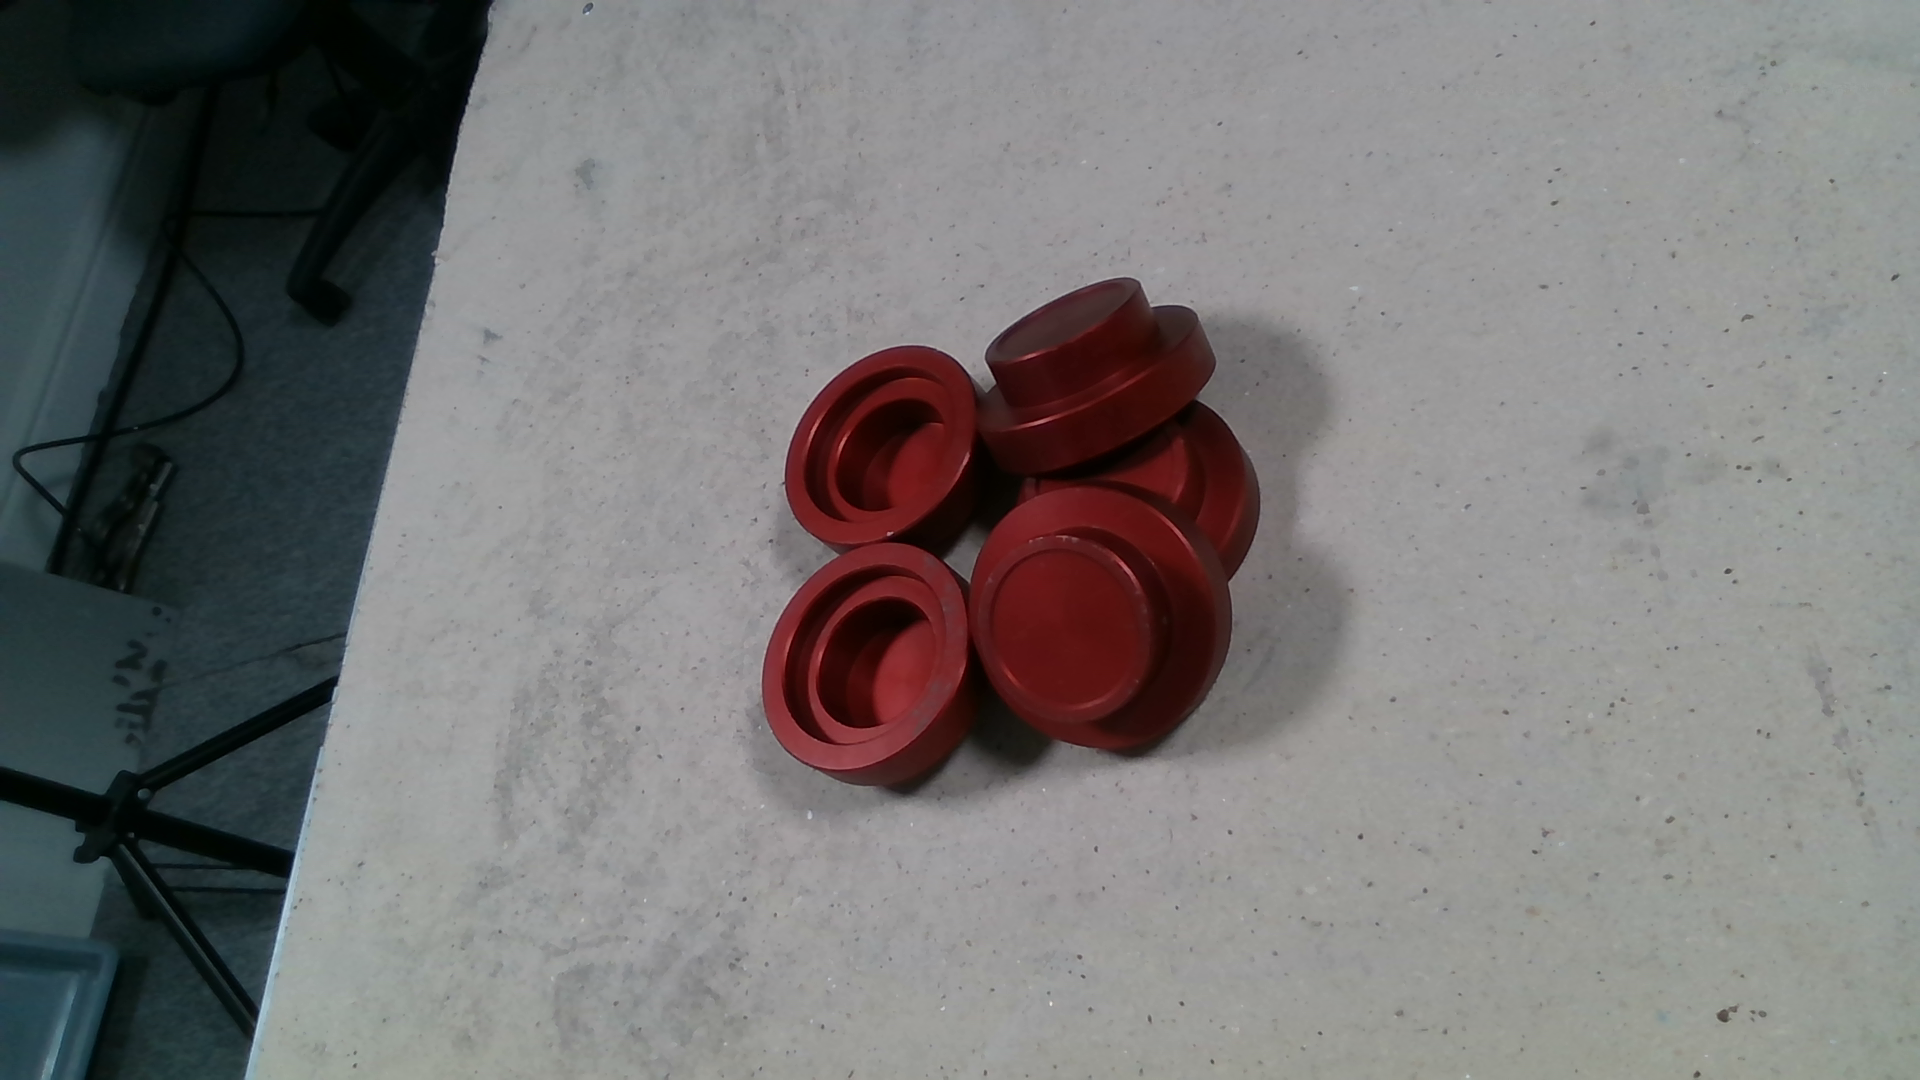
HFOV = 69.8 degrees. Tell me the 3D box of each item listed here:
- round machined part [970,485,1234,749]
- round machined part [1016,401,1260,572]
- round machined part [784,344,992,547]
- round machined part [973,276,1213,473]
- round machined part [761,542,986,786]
[{"bbox_3d":[0.046,0.029,0.503,0.098,0.042,0.098,4,99,29],"label":"round machined part"},{"bbox_3d":[0.065,-0.017,0.543,0.098,0.042,0.098,-14,59,25],"label":"round machined part"},{"bbox_3d":[-0.026,-0.034,0.608,0.098,0.042,0.098,-14,59,25],"label":"round machined part"},{"bbox_3d":[0.049,-0.071,0.552,0.098,0.042,0.098,-25,22,10],"label":"round machined part"},{"bbox_3d":[-0.030,0.053,0.565,0.098,0.042,0.098,-14,59,25],"label":"round machined part"}]
